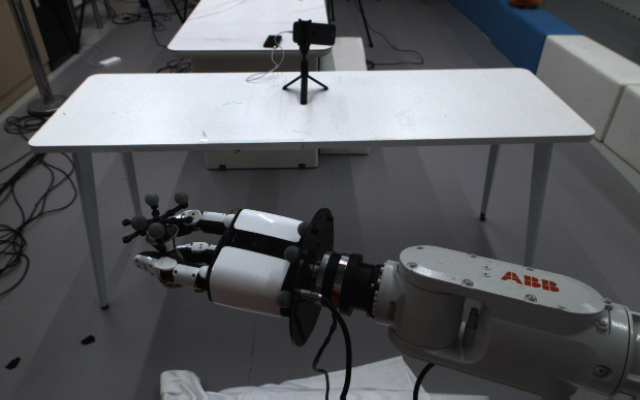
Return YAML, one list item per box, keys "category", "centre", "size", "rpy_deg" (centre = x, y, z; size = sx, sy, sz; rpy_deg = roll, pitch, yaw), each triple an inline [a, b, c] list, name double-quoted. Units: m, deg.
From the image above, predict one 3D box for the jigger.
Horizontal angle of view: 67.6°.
- category: "jigger"
  centre: [-0.179, 0.066, 0.596]
  size: [0.043, 0.071, 0.043]
  rpy_deg: [-8, 31, 5]
